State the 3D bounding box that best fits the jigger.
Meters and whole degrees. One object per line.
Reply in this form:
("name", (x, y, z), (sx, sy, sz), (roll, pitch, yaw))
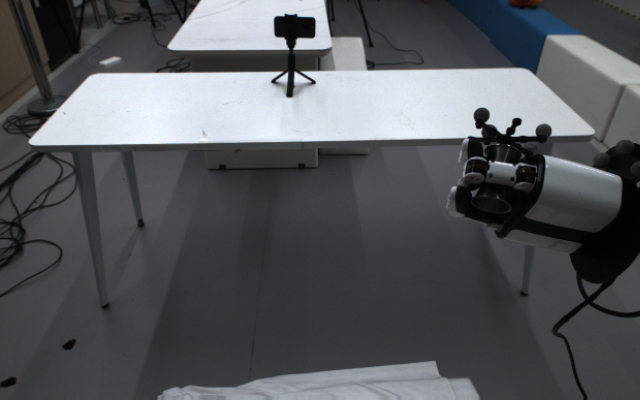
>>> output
("jigger", (0.201, -0.025, 0.550), (0.043, 0.043, 0.071), (13, 73, 15))
